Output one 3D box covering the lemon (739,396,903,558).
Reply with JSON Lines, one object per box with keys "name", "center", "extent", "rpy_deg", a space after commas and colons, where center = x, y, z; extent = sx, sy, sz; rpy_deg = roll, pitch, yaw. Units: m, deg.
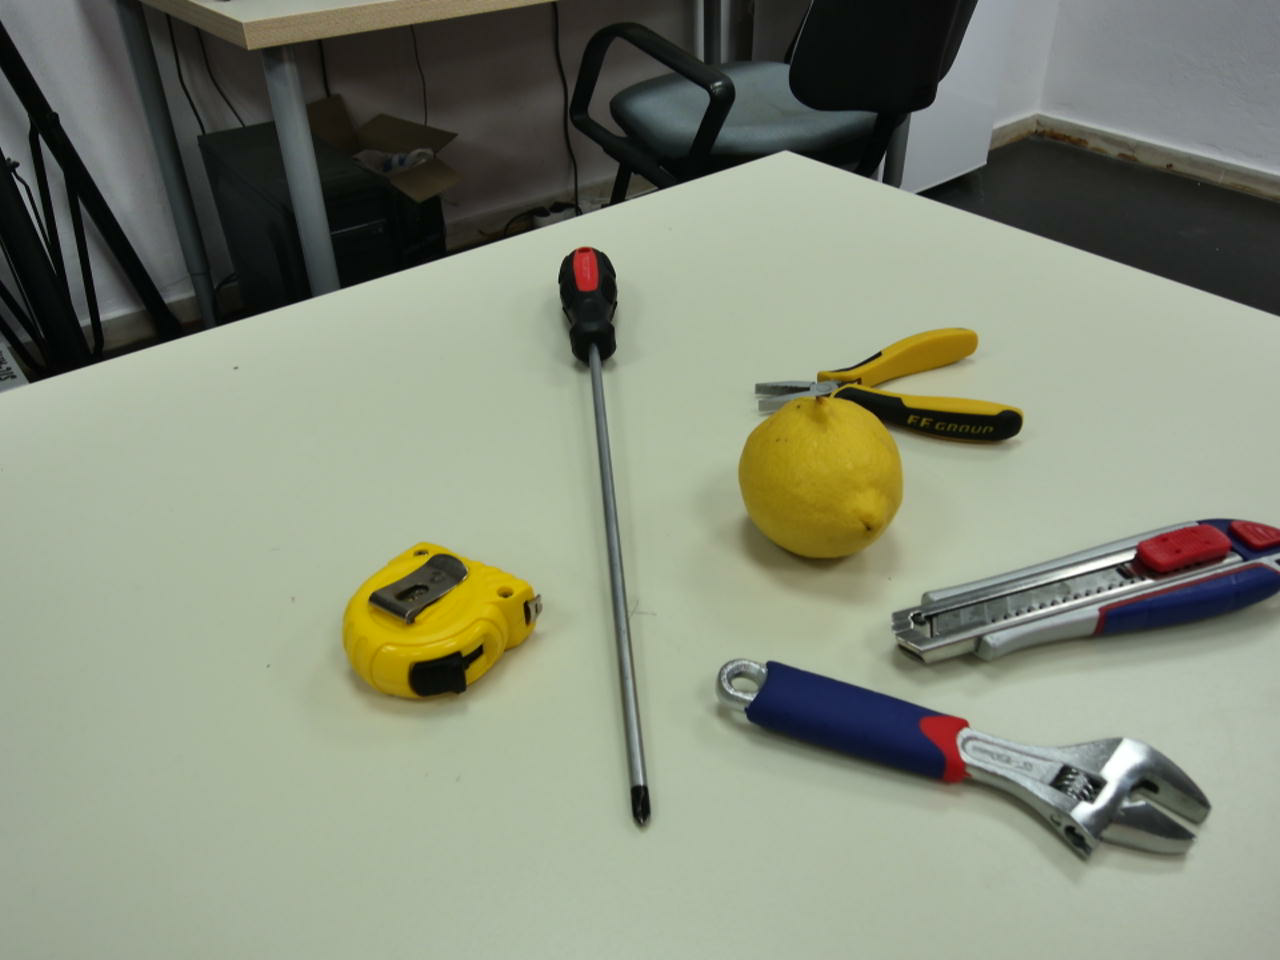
{"name": "lemon", "center": [0.077, -0.004, 0.426], "extent": [0.070, 0.071, 0.071], "rpy_deg": [11, 36, 15]}
